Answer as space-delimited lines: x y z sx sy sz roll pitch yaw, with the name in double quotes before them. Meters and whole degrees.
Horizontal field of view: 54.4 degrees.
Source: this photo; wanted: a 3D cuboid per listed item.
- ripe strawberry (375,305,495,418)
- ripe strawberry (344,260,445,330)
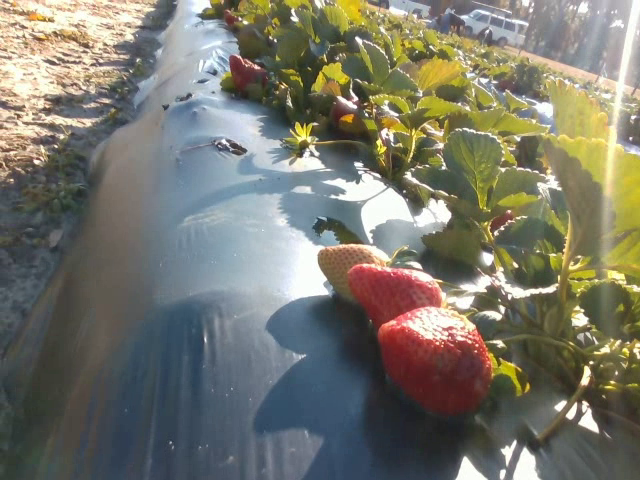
"ripe strawberry" 0.046 0.048 0.260 0.056 0.051 0.067 3 -18 35
"ripe strawberry" 0.038 0.029 0.310 0.061 0.044 0.050 29 39 -5
